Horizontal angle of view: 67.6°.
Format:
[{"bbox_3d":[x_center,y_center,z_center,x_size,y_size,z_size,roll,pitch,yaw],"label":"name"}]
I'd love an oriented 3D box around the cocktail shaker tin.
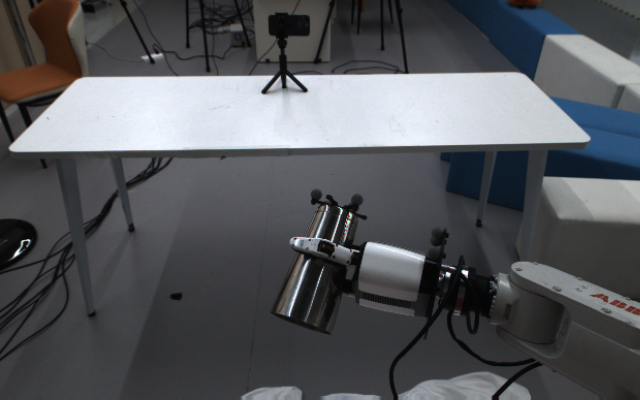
[{"bbox_3d":[-0.001,0.096,0.699,0.093,0.093,0.170,14,70,16],"label":"cocktail shaker tin"}]
